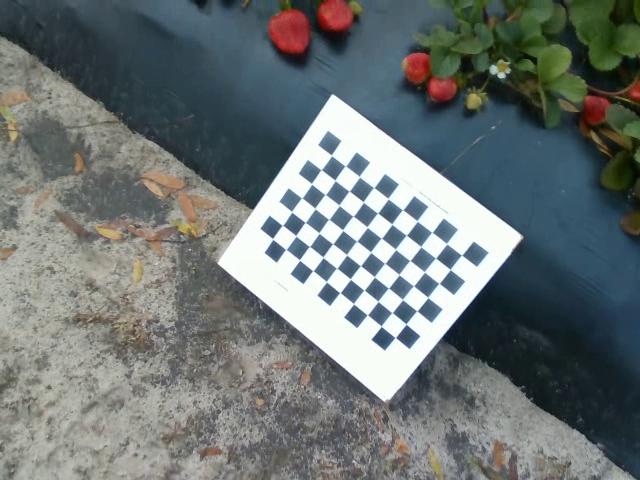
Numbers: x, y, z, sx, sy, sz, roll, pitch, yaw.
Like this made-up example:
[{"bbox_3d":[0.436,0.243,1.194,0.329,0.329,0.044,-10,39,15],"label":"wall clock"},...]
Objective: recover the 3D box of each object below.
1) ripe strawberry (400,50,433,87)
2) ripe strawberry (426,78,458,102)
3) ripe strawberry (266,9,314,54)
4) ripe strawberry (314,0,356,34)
[{"bbox_3d":[0.137,-0.218,0.907,0.053,0.047,0.039,9,15,-20],"label":"ripe strawberry"},{"bbox_3d":[0.166,-0.188,0.891,0.043,0.041,0.049,34,40,9],"label":"ripe strawberry"},{"bbox_3d":[-0.025,-0.263,0.913,0.058,0.065,0.043,-23,-17,19],"label":"ripe strawberry"},{"bbox_3d":[0.036,-0.288,0.923,0.050,0.060,0.051,-29,-50,20],"label":"ripe strawberry"}]
